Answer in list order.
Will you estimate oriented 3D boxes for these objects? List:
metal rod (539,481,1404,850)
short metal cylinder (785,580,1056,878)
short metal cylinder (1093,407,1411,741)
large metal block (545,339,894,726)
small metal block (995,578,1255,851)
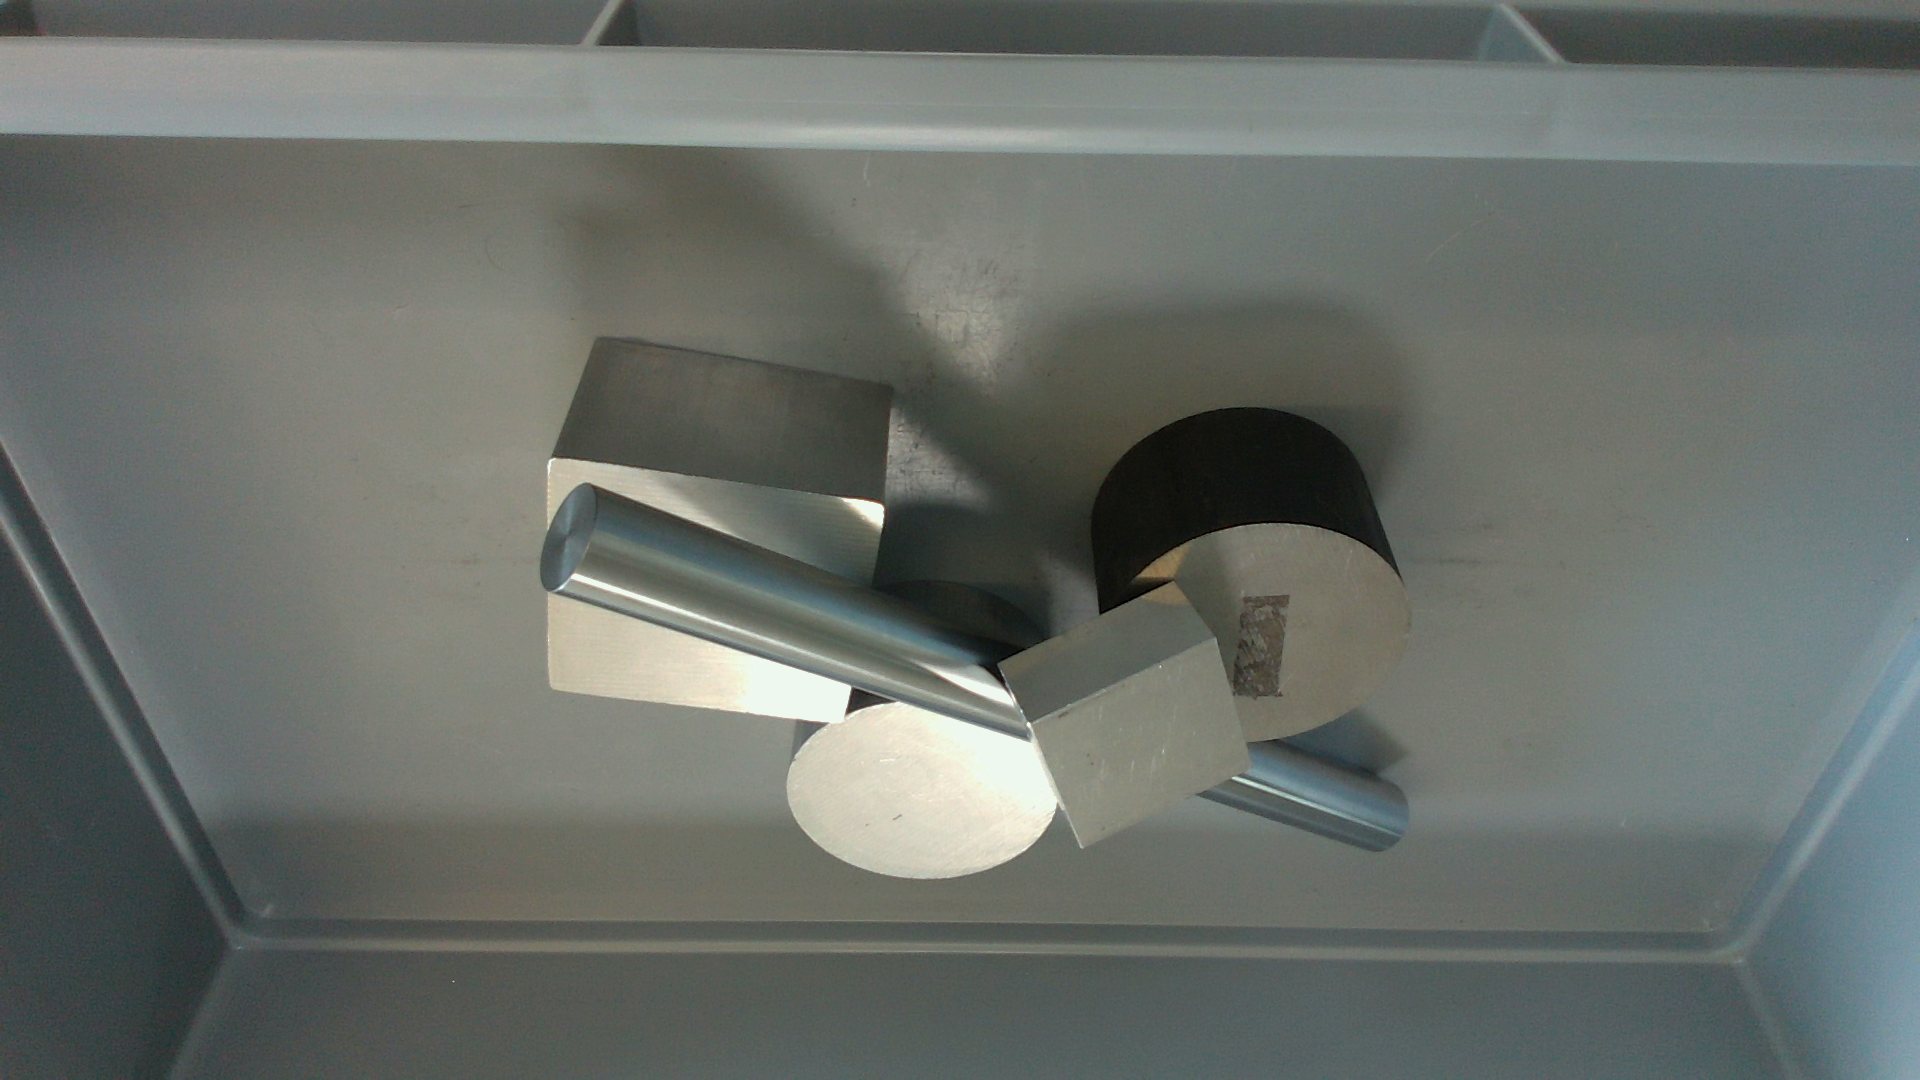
[{"bbox_3d":[0.028,0.046,0.382,0.301,0.025,0.025,23,128,-36],"label":"metal rod"},{"bbox_3d":[-0.011,0.059,0.422,0.080,0.050,0.080,0,130,0],"label":"short metal cylinder"},{"bbox_3d":[0.078,0.010,0.382,0.080,0.050,0.080,0,130,0],"label":"short metal cylinder"},{"bbox_3d":[-0.065,0.000,0.369,0.080,0.050,0.080,8,130,-7],"label":"large metal block"},{"bbox_3d":[0.043,0.045,0.353,0.050,0.025,0.050,-25,128,-3],"label":"small metal block"}]
